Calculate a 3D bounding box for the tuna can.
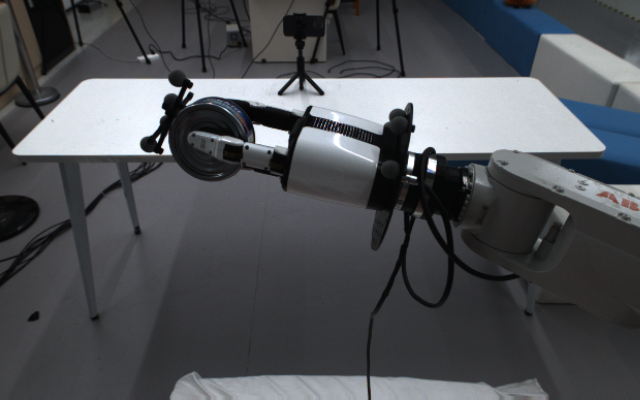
[{"bbox_3d":[-0.110,-0.060,0.510,0.085,0.085,0.034,3,21,2],"label":"tuna can"}]
